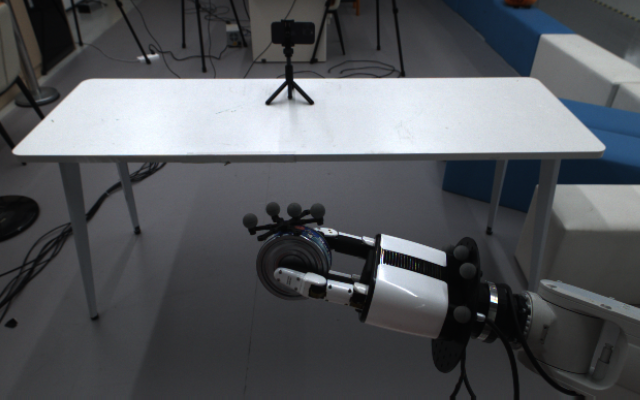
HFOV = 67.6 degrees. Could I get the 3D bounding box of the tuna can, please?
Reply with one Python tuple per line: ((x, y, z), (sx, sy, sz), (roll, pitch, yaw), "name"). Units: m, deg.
((-0.026, 0.079, 0.562), (0.085, 0.085, 0.034), (6, 18, 5), "tuna can")
